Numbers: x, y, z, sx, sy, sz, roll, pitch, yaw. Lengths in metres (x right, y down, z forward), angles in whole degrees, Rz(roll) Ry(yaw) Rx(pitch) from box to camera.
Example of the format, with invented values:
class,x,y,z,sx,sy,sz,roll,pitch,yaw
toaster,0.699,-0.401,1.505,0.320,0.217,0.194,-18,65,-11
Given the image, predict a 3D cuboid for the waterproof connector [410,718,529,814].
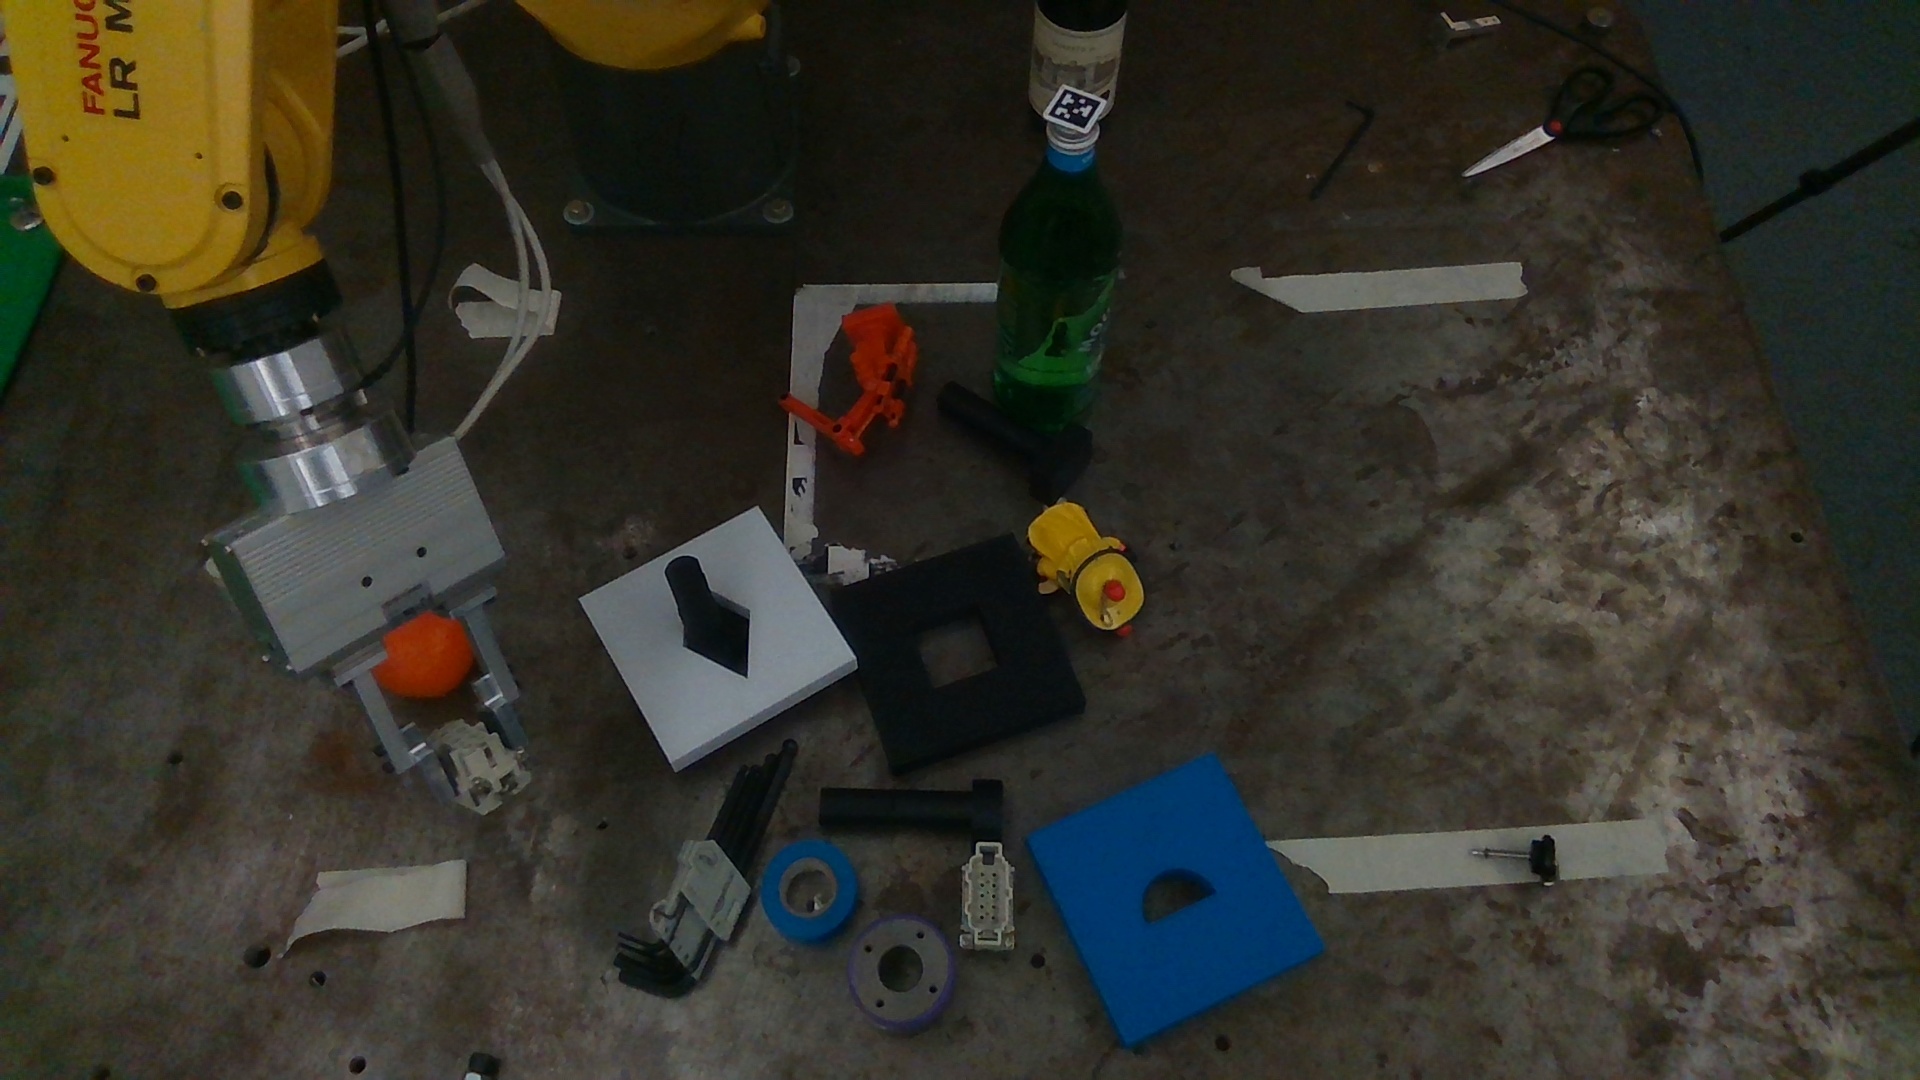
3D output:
class,x,y,z,sx,sy,sz,roll,pitch,yaw
waterproof connector,-0.272,0.122,0.768,0.069,0.038,0.036,8,40,41
